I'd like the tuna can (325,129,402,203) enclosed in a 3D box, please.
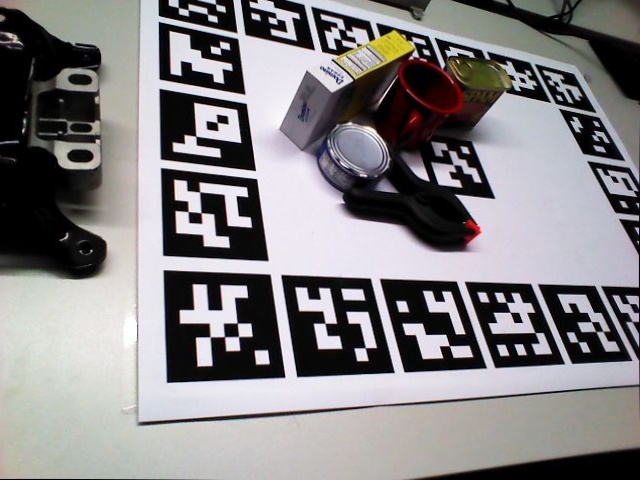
[{"bbox_3d":[0.050,-0.084,0.597,0.085,0.034,0.085,11,58,-19],"label":"tuna can"}]

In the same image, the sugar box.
[{"bbox_3d":[0.047,-0.171,0.621,0.045,0.093,0.175,45,51,8],"label":"sugar box"}]

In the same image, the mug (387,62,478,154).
[{"bbox_3d":[0.135,-0.155,0.648,0.093,0.082,0.116,25,55,-10],"label":"mug"}]

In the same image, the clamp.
[{"bbox_3d":[0.127,-0.030,0.607,0.165,0.037,0.121,35,47,-7],"label":"clamp"}]

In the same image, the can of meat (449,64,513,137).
[{"bbox_3d":[0.215,-0.190,0.718,0.101,0.084,0.057,-5,61,-29],"label":"can of meat"}]
